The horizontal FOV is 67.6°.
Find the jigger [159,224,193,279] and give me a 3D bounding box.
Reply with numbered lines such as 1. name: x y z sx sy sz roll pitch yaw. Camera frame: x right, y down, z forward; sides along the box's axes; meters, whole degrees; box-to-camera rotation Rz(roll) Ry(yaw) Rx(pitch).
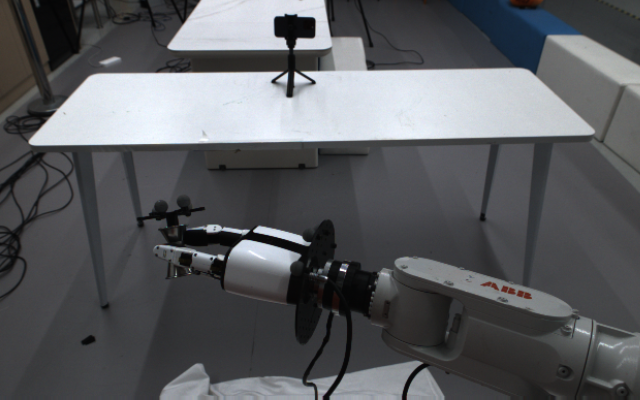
1. jigger: -0.191 0.069 0.655 0.043 0.071 0.043 -11 -3 -1
